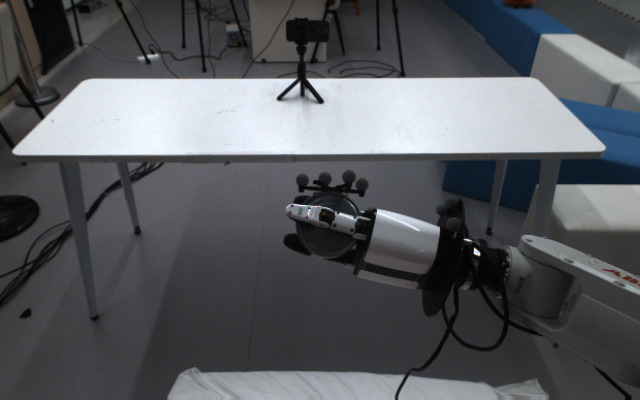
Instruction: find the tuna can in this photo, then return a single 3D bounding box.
[{"bbox_3d":[0.013,0.033,0.633,0.085,0.034,0.085,0,76,0],"label":"tuna can"}]
